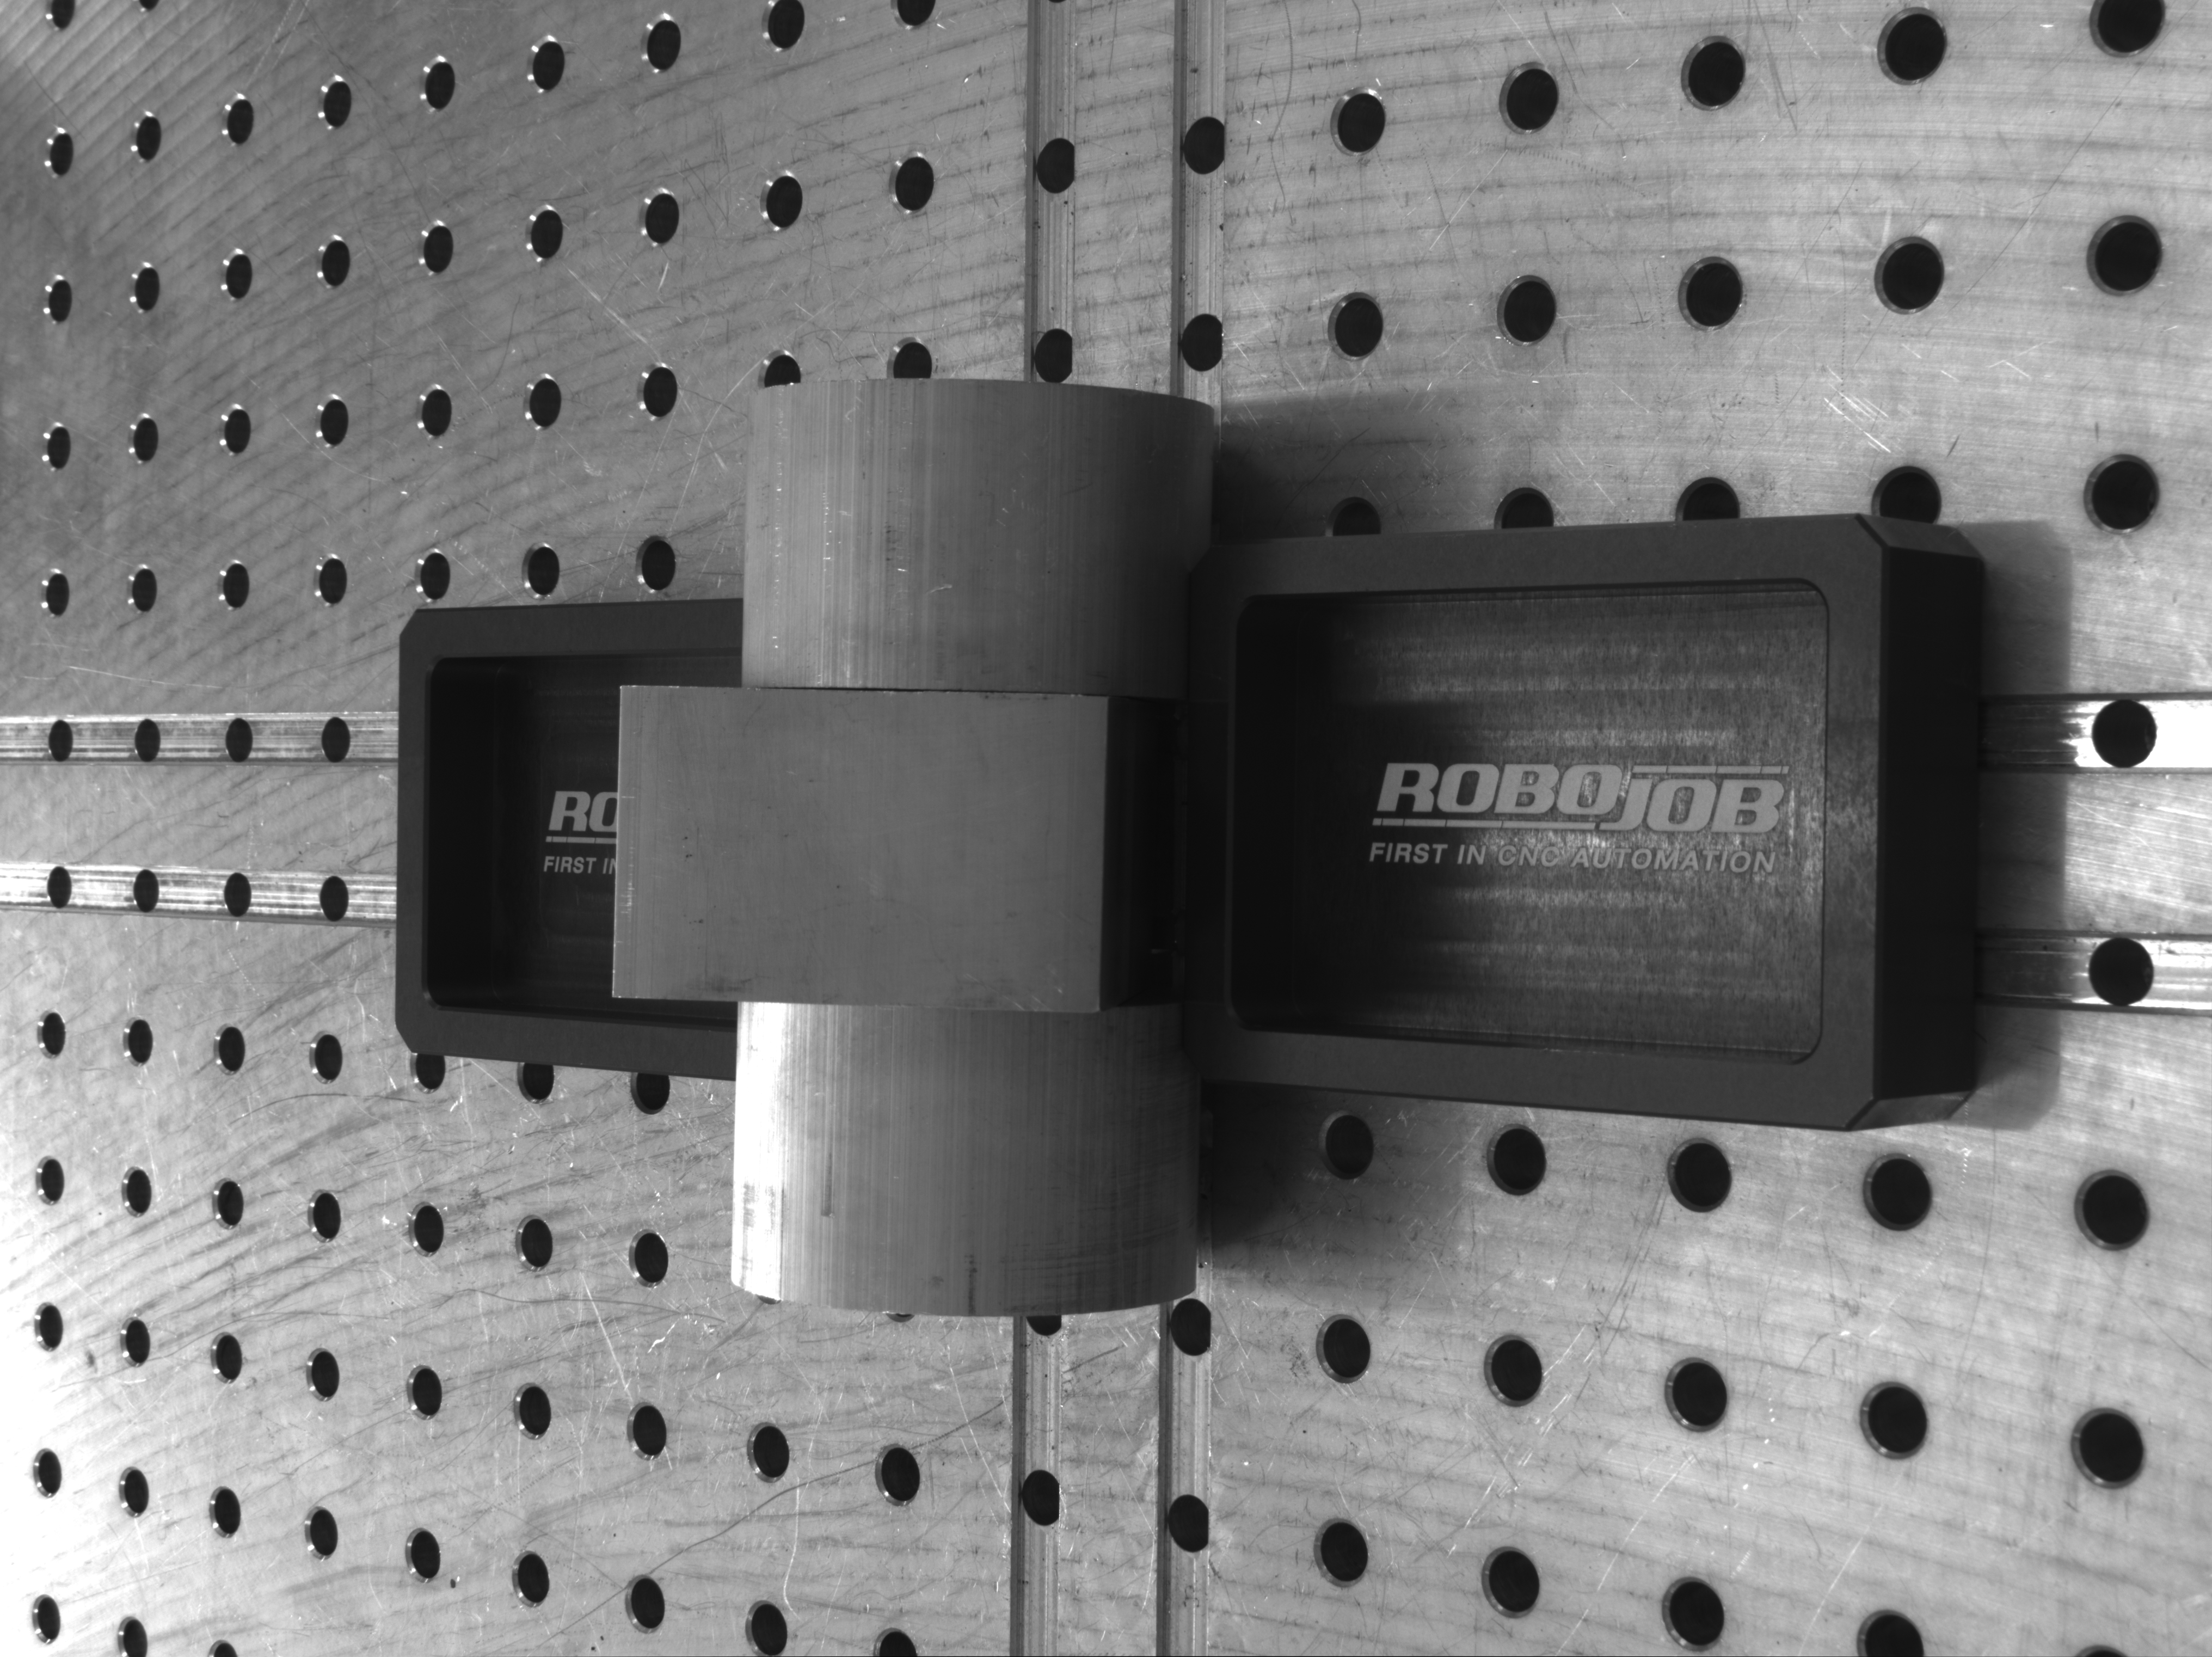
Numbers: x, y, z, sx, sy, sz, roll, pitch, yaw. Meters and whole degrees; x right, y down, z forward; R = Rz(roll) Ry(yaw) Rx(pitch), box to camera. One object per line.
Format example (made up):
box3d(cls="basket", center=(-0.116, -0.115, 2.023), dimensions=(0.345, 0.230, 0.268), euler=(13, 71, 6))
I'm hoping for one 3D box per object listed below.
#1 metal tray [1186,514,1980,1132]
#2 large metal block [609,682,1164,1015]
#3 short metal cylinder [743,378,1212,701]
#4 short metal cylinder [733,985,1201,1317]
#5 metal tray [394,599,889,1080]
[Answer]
box3d(cls="metal tray", center=(0.072, -0.002, 0.584), dimensions=(0.130, 0.030, 0.090), euler=(1, 91, 40))
box3d(cls="large metal block", center=(-0.034, 0.003, 0.623), dimensions=(0.080, 0.080, 0.050), euler=(2, 91, 6))
box3d(cls="short metal cylinder", center=(-0.022, -0.048, 0.631), dimensions=(0.080, 0.080, 0.050), euler=(2, 91, 40))
box3d(cls="short metal cylinder", center=(-0.024, 0.053, 0.632), dimensions=(0.080, 0.080, 0.050), euler=(2, 91, 40))
box3d(cls="metal tray", center=(-0.086, 0.002, 0.717), dimensions=(0.130, 0.030, 0.090), euler=(1, 91, 40))
